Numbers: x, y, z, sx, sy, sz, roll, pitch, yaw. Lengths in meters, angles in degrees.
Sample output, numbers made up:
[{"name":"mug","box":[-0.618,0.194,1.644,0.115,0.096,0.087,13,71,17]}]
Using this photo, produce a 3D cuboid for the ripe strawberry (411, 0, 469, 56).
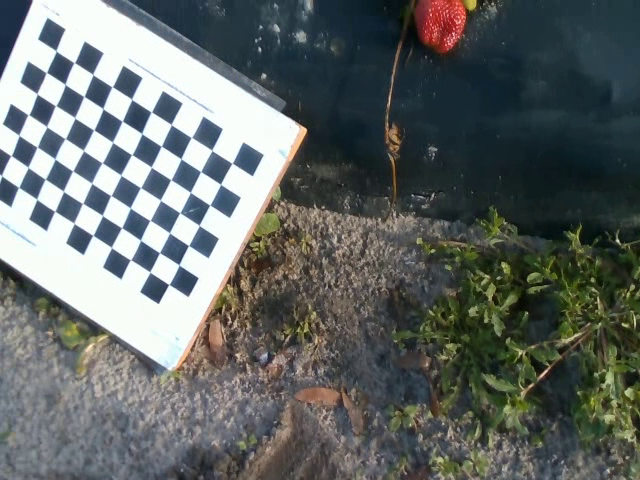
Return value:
[{"name":"ripe strawberry","box":[0.111,-0.187,0.488,0.047,0.050,0.034,11,3,9]}]
